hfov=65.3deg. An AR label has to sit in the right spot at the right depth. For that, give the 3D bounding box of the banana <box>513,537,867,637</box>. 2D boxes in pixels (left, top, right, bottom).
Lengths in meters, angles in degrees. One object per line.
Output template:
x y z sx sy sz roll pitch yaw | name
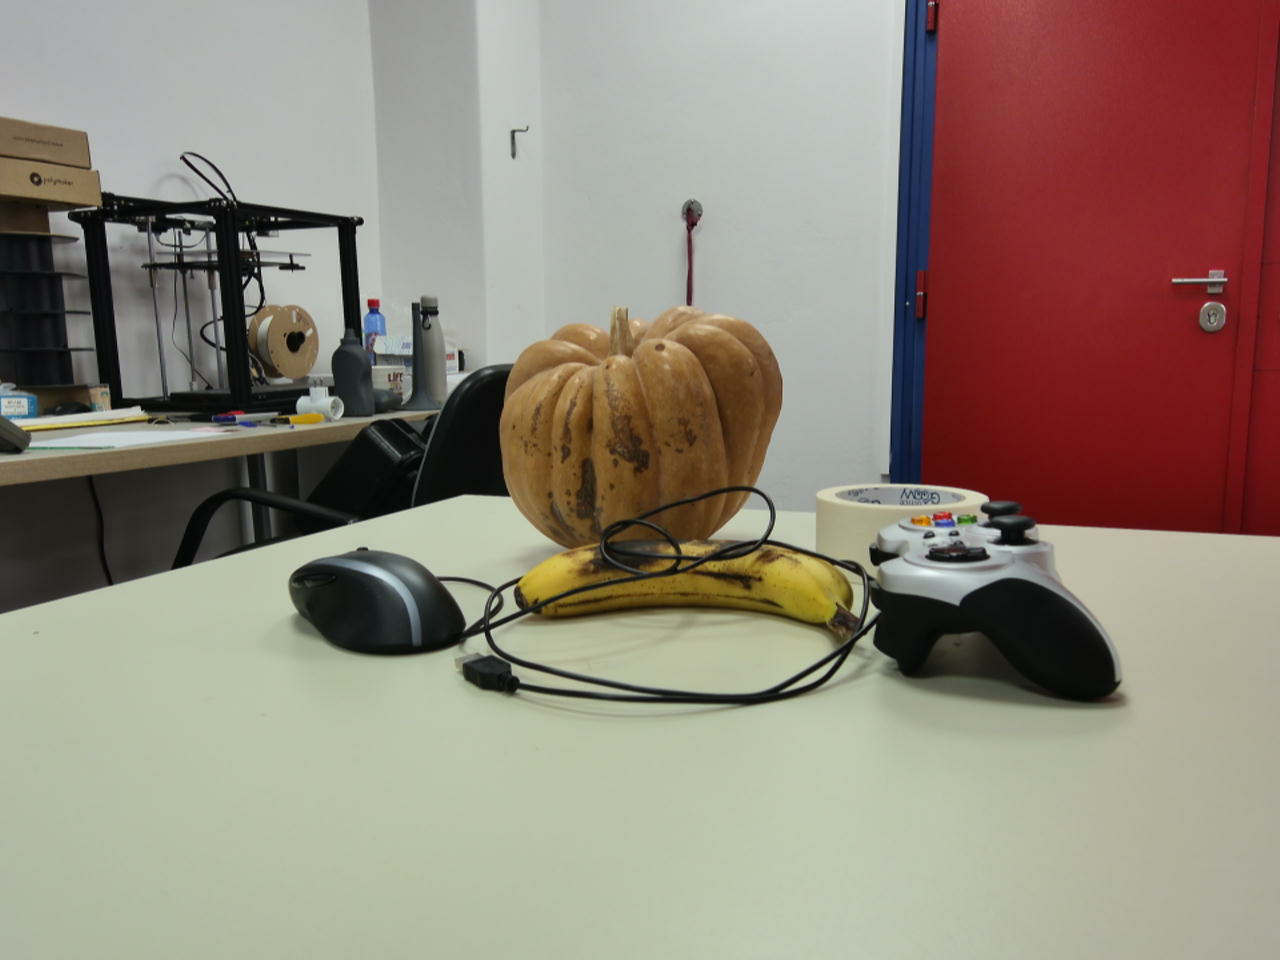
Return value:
0.032 0.057 0.542 0.187 0.039 0.094 2 6 22 | banana
